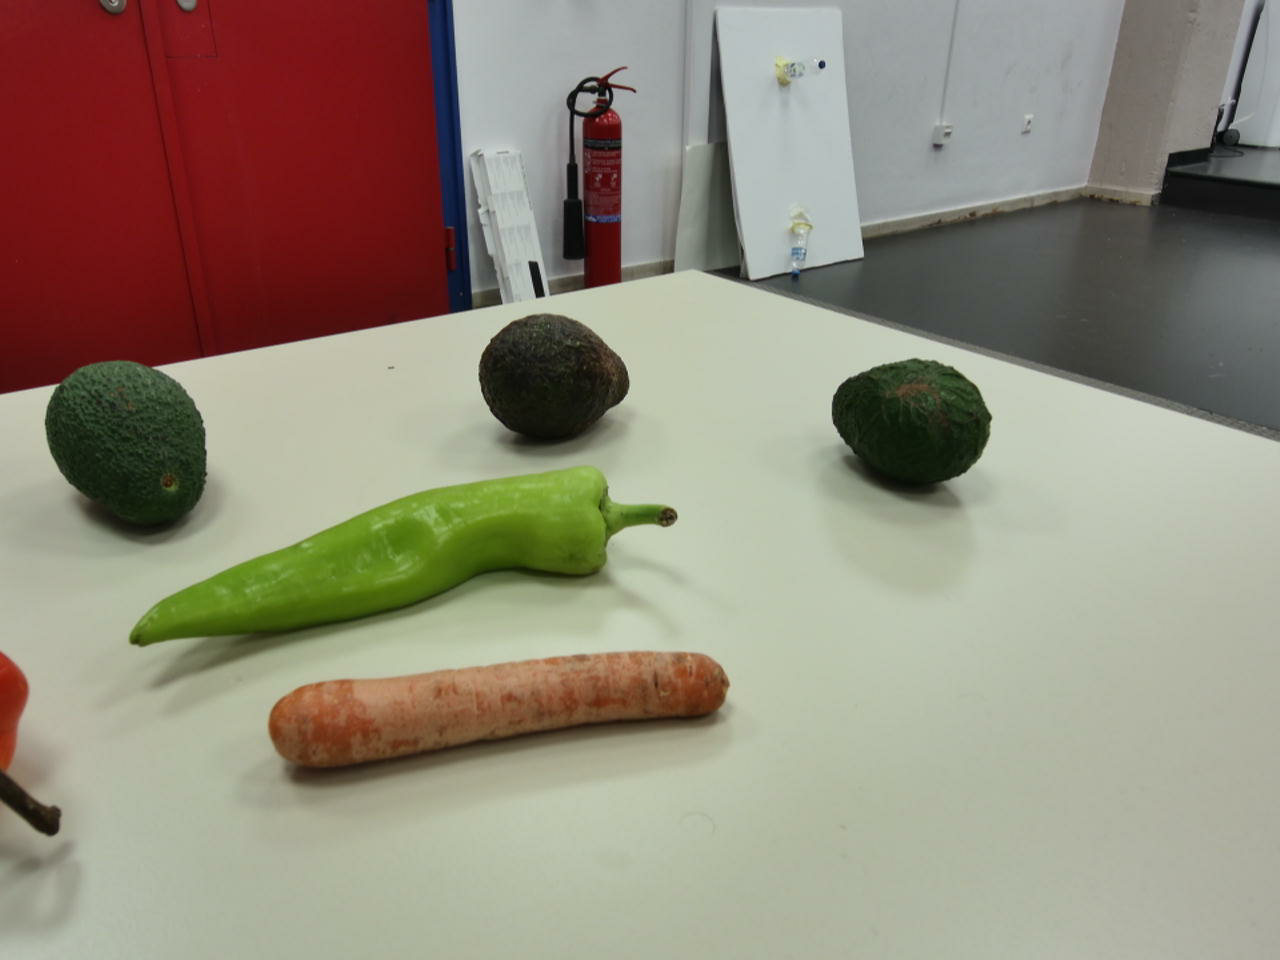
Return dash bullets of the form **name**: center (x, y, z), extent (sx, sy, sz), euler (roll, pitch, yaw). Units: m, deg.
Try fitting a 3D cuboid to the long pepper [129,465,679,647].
- **long pepper**: center (-0.090, 0.028, 0.399), extent (0.204, 0.045, 0.065), euler (-10, 25, -21)
